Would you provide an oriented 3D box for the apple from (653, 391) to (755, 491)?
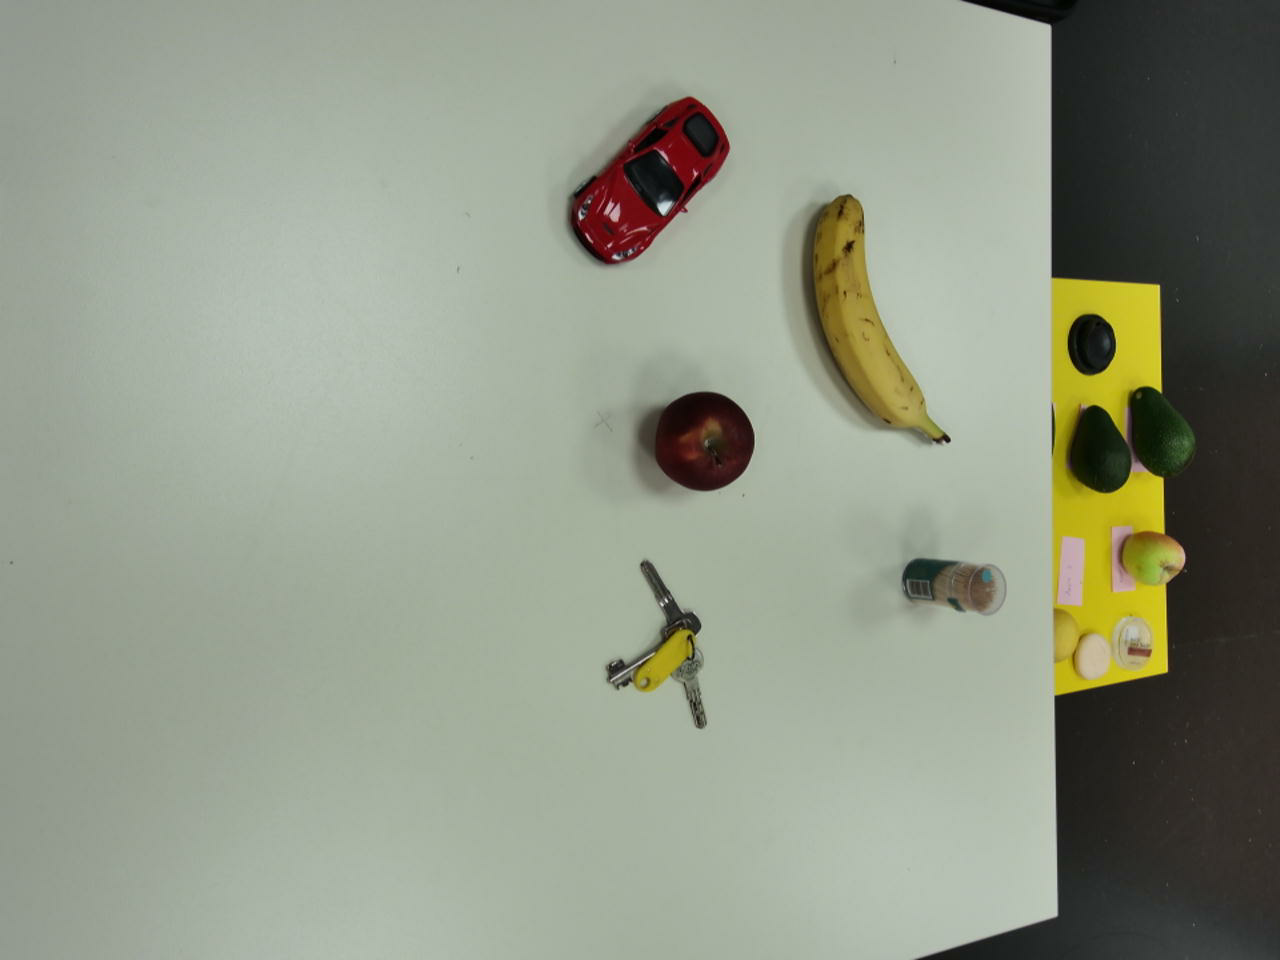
[{"bbox_3d":[0.044,-0.026,0.695,0.070,0.072,0.070,0,90,-28],"label":"apple"}]
